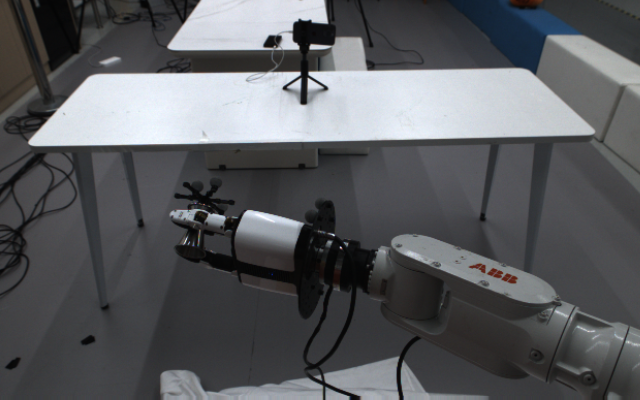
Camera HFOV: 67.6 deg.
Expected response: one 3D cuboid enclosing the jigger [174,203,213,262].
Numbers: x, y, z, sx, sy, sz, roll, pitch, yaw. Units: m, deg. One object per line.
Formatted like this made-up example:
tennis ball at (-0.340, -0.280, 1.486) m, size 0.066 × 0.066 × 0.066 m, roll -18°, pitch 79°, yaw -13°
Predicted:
jigger at (-0.178, 0.042, 0.682) m, size 0.043 × 0.043 × 0.071 m, roll 6°, pitch 60°, yaw 6°
